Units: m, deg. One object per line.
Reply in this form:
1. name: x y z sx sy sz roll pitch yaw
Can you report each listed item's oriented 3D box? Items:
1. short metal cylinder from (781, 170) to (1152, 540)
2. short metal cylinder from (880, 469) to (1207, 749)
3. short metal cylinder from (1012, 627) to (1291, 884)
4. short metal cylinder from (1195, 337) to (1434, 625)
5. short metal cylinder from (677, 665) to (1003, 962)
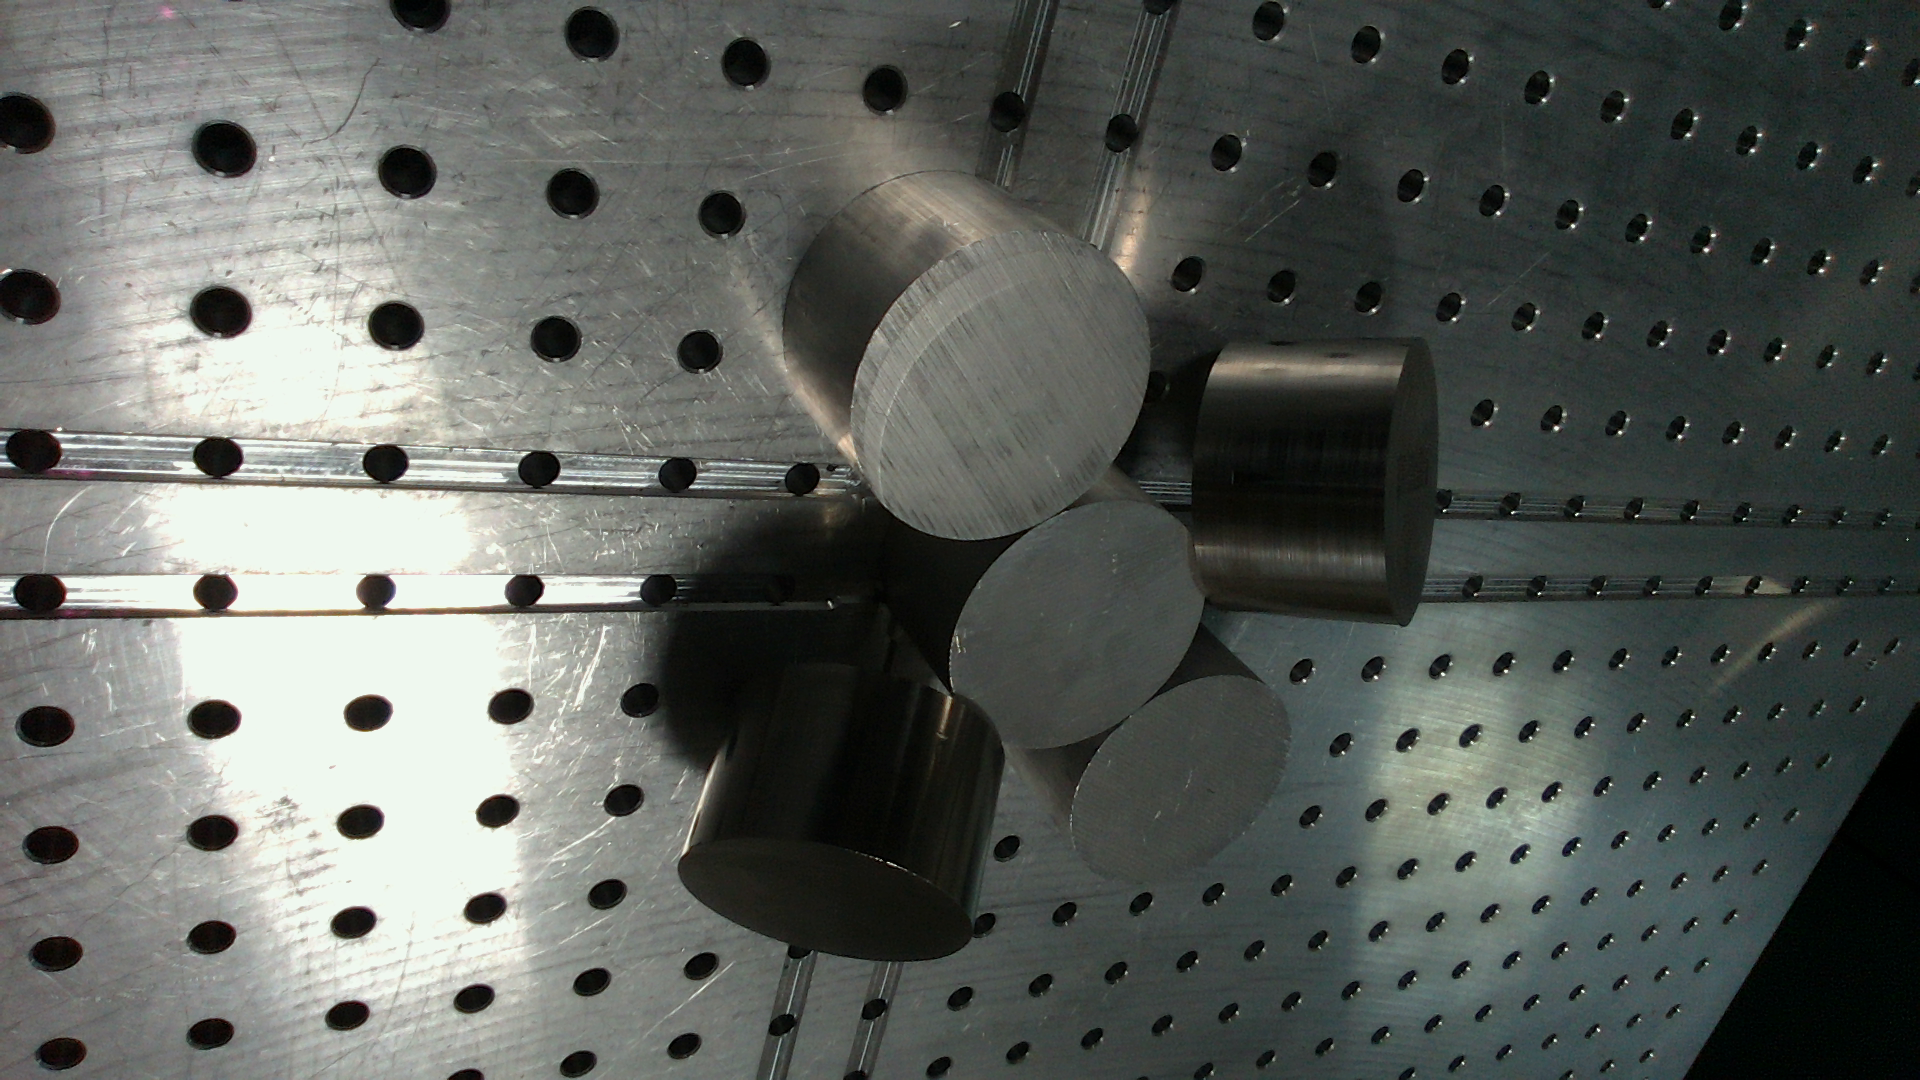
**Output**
1. short metal cylinder: 0.001 -0.047 0.347 0.080 0.050 0.080 -14 124 -21
2. short metal cylinder: 0.023 0.013 0.396 0.080 0.050 0.080 -14 124 -21
3. short metal cylinder: 0.059 0.064 0.447 0.080 0.050 0.080 -14 124 -21
4. short metal cylinder: 0.104 -0.018 0.395 0.080 0.050 0.080 -13 105 -62
5. short metal cylinder: -0.031 0.077 0.380 0.080 0.050 0.080 9 145 6
